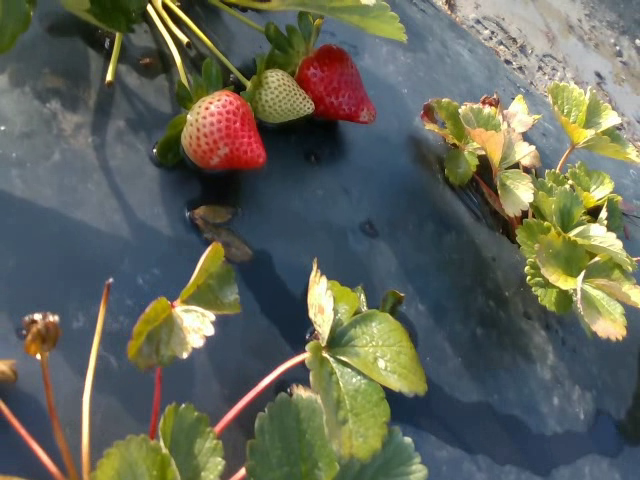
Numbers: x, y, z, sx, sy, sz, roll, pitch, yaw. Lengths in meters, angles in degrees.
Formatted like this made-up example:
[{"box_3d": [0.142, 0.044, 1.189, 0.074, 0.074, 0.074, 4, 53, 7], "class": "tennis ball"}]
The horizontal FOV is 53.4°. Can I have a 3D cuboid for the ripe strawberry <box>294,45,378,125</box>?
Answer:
[{"box_3d": [0.013, -0.091, 0.385, 0.048, 0.065, 0.050, -44, 8, -1], "class": "ripe strawberry"}]
